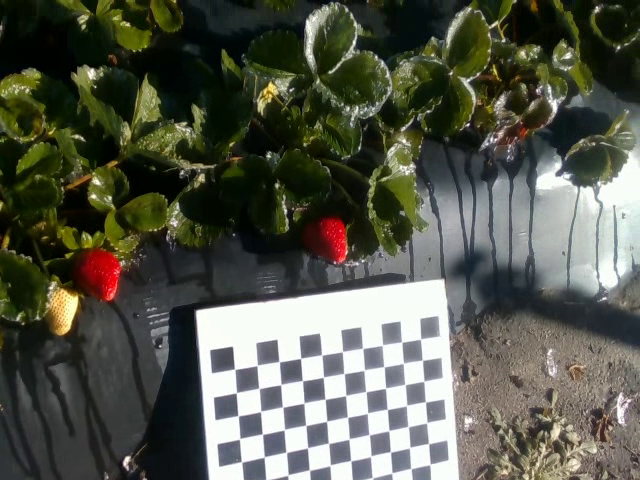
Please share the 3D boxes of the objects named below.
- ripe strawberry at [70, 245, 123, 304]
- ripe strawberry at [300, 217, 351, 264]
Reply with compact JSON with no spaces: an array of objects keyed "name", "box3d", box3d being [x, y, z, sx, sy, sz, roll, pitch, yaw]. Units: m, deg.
[{"name":"ripe strawberry","box3d":[-0.201,0.038,0.574,0.042,0.061,0.046,-21,-34,-18]},{"name":"ripe strawberry","box3d":[0.013,0.002,0.645,0.048,0.061,0.044,-13,-27,-19]}]
